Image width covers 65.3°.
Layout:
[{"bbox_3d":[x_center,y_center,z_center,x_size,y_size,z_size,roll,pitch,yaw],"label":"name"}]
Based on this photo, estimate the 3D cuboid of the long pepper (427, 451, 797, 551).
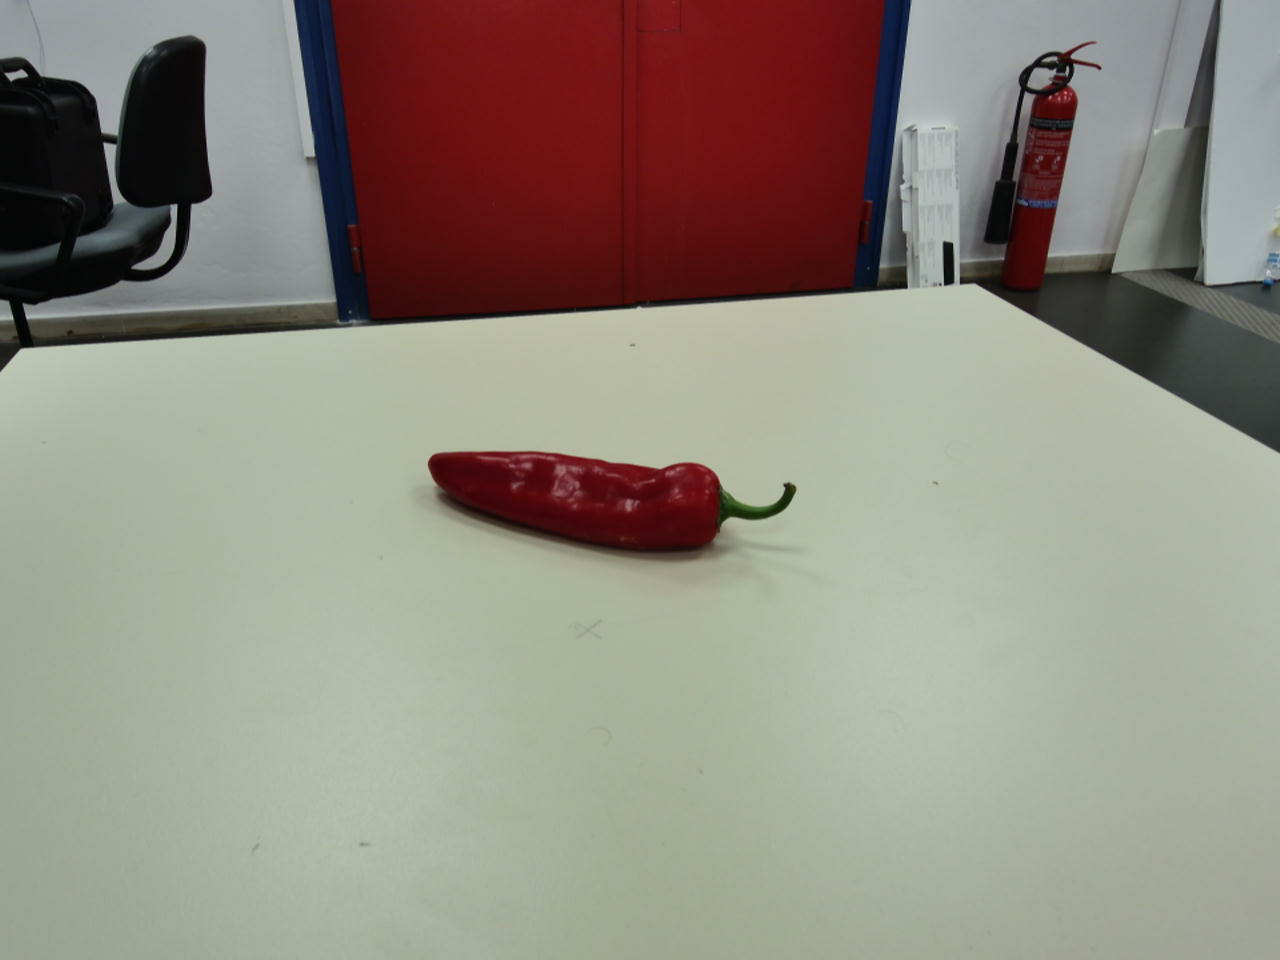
[{"bbox_3d":[-0.025,0.007,0.529,0.211,0.043,0.050,9,27,17],"label":"long pepper"}]
